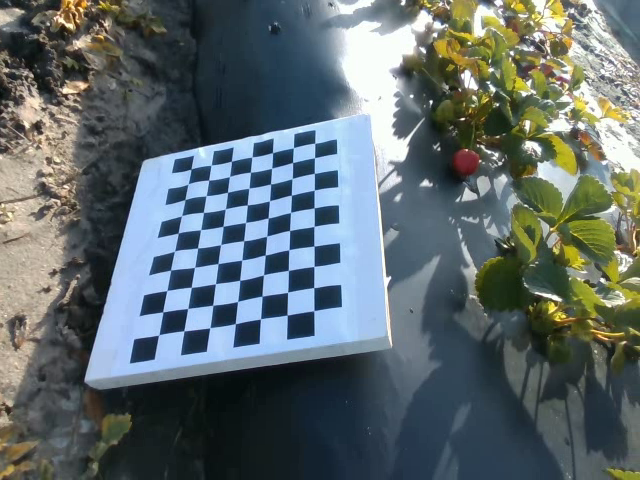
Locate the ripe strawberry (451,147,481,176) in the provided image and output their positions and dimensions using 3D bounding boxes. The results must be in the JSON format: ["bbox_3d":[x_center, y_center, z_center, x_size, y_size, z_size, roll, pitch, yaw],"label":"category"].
[{"bbox_3d":[0.153,-0.080,0.623,0.030,0.033,0.044,13,27,31],"label":"ripe strawberry"}]
